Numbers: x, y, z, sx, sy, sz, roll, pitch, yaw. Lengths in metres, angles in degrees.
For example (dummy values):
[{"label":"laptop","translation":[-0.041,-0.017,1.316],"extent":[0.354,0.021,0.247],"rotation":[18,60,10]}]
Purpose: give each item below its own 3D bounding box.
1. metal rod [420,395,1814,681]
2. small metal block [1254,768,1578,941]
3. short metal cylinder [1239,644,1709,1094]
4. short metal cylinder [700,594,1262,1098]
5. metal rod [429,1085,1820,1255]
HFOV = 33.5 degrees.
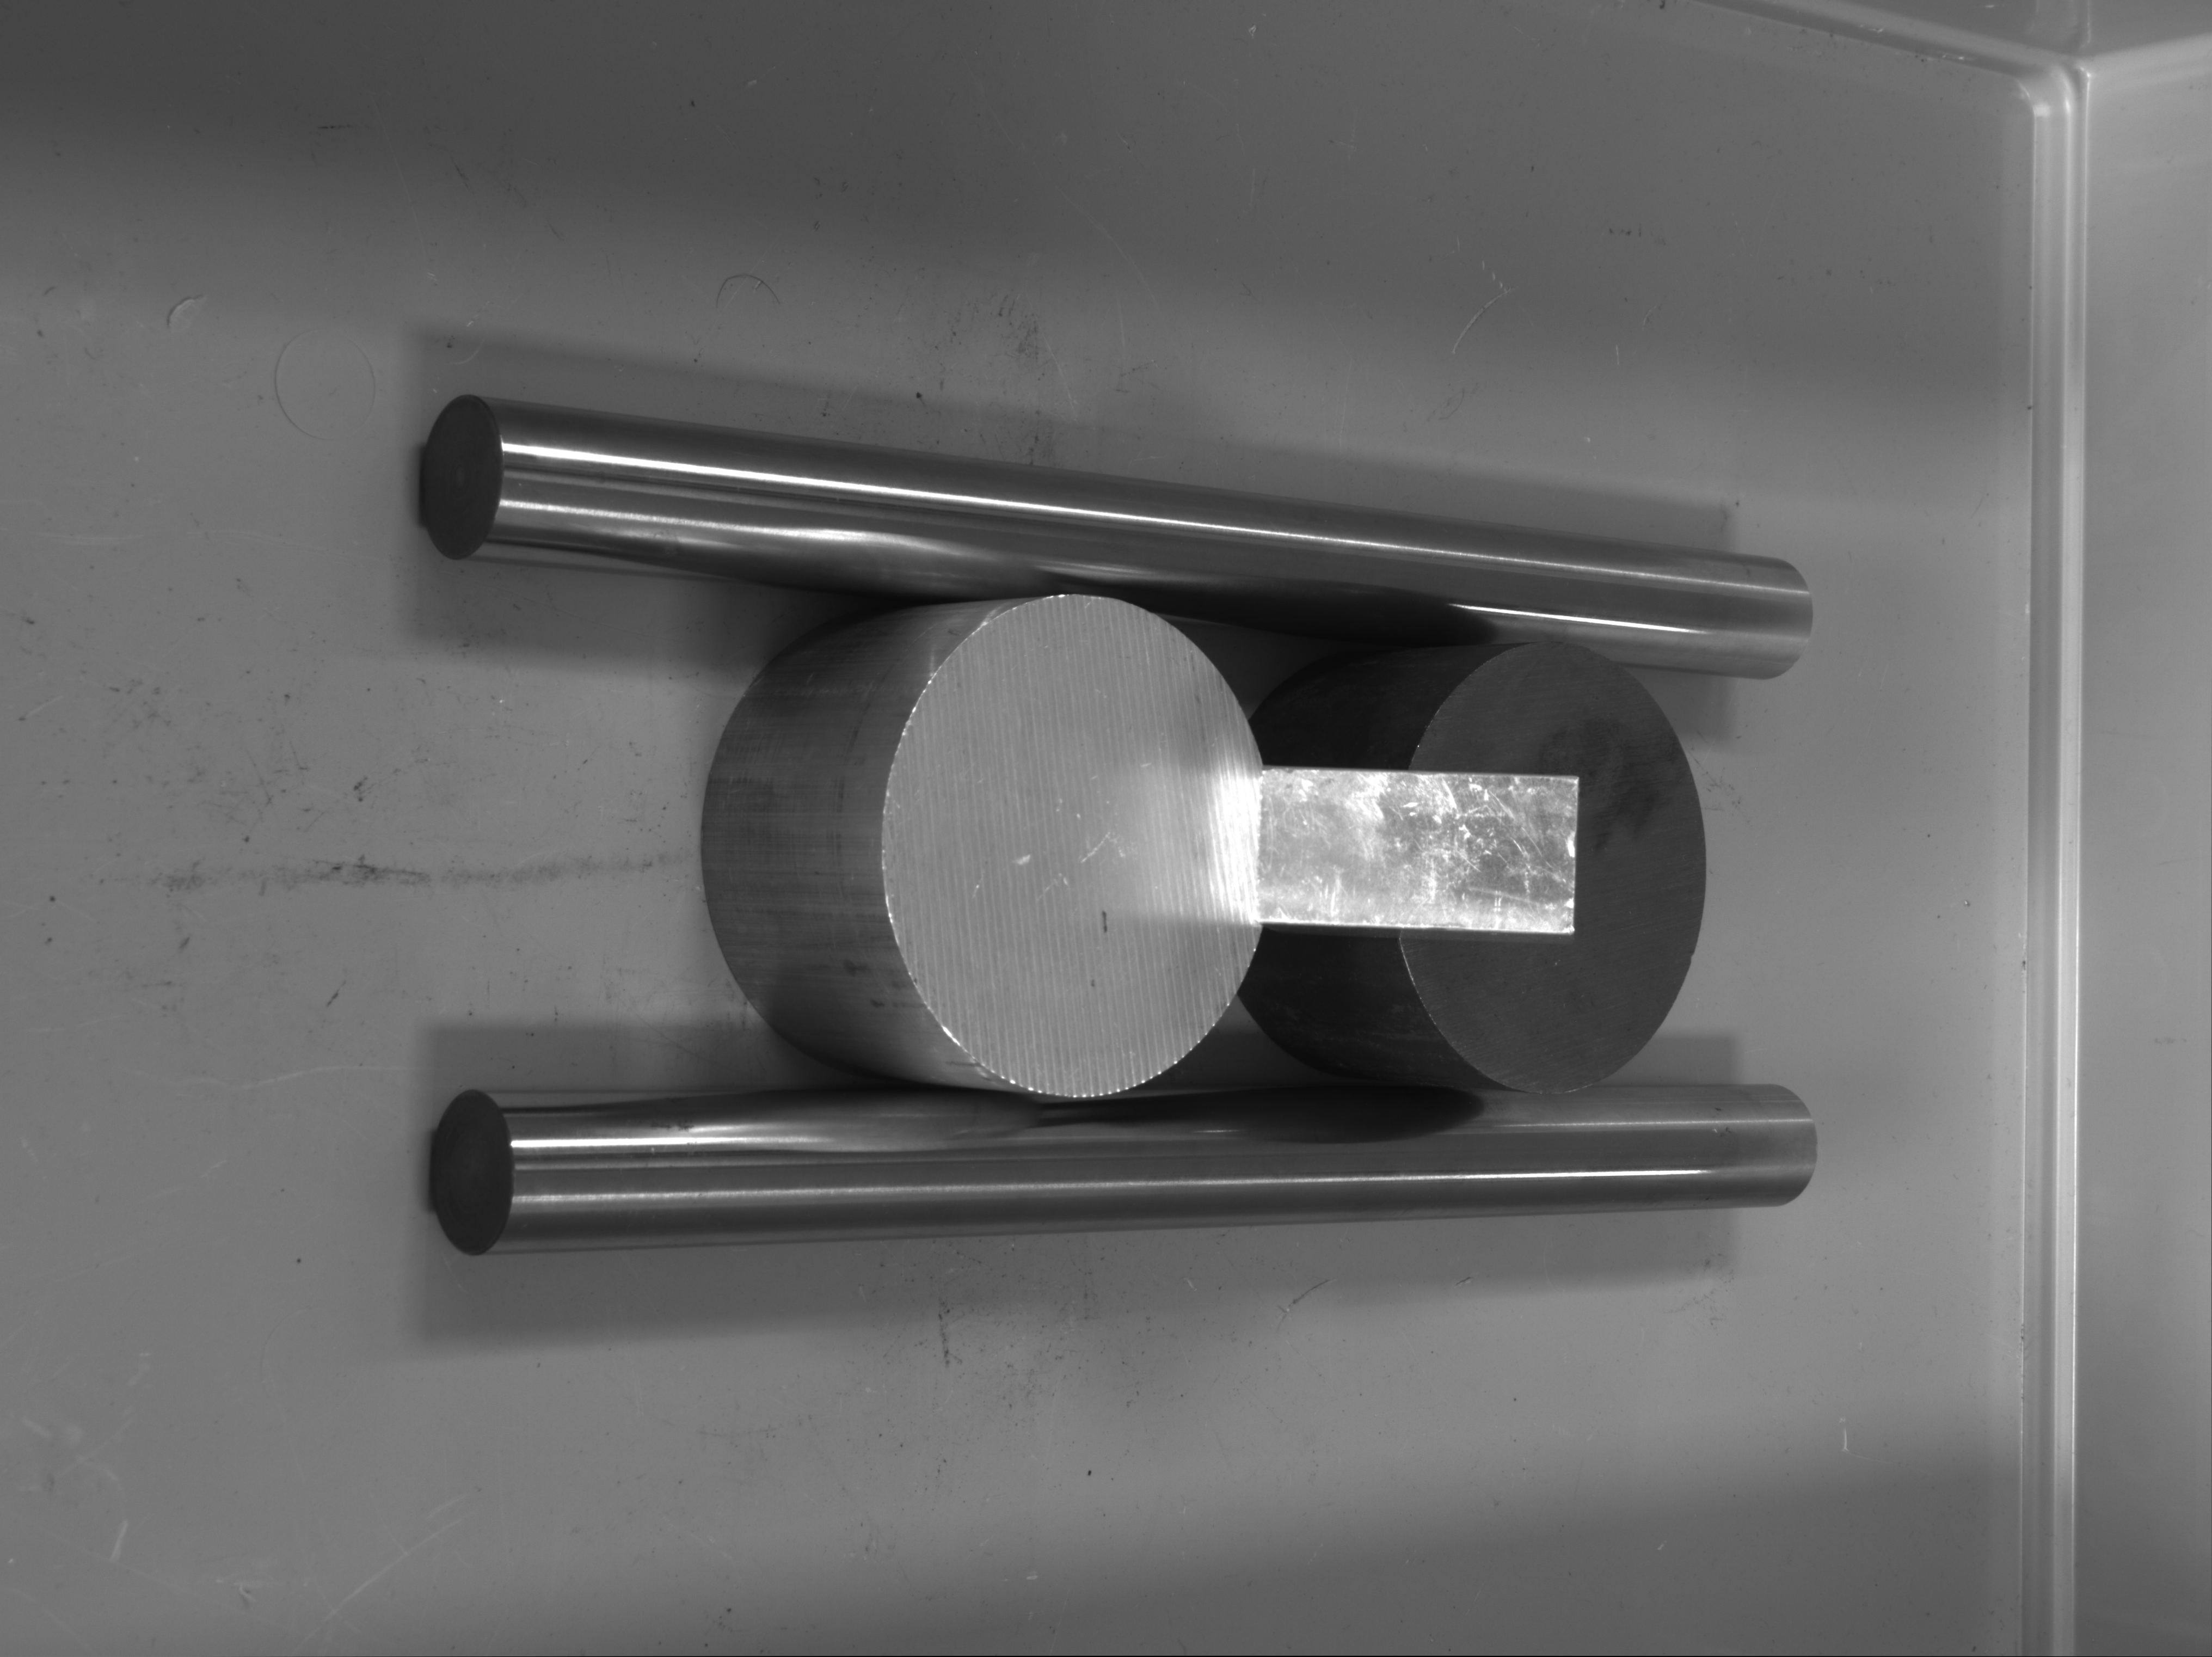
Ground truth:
[{"label":"metal rod","translation":[0.018,-0.048,0.650],"extent":[0.301,0.025,0.025],"rotation":[3,88,-40]},{"label":"small metal block","translation":[0.052,0.005,0.602],"extent":[0.050,0.050,0.025],"rotation":[24,68,-82]},{"label":"short metal cylinder","translation":[0.065,0.007,0.673],"extent":[0.080,0.050,0.080],"rotation":[0,90,-40]},{"label":"short metal cylinder","translation":[-0.019,0.003,0.603],"extent":[0.080,0.050,0.080],"rotation":[0,90,-40]},{"label":"metal rod","translation":[0.020,0.058,0.651],"extent":[0.301,0.025,0.025],"rotation":[3,88,-40]}]
